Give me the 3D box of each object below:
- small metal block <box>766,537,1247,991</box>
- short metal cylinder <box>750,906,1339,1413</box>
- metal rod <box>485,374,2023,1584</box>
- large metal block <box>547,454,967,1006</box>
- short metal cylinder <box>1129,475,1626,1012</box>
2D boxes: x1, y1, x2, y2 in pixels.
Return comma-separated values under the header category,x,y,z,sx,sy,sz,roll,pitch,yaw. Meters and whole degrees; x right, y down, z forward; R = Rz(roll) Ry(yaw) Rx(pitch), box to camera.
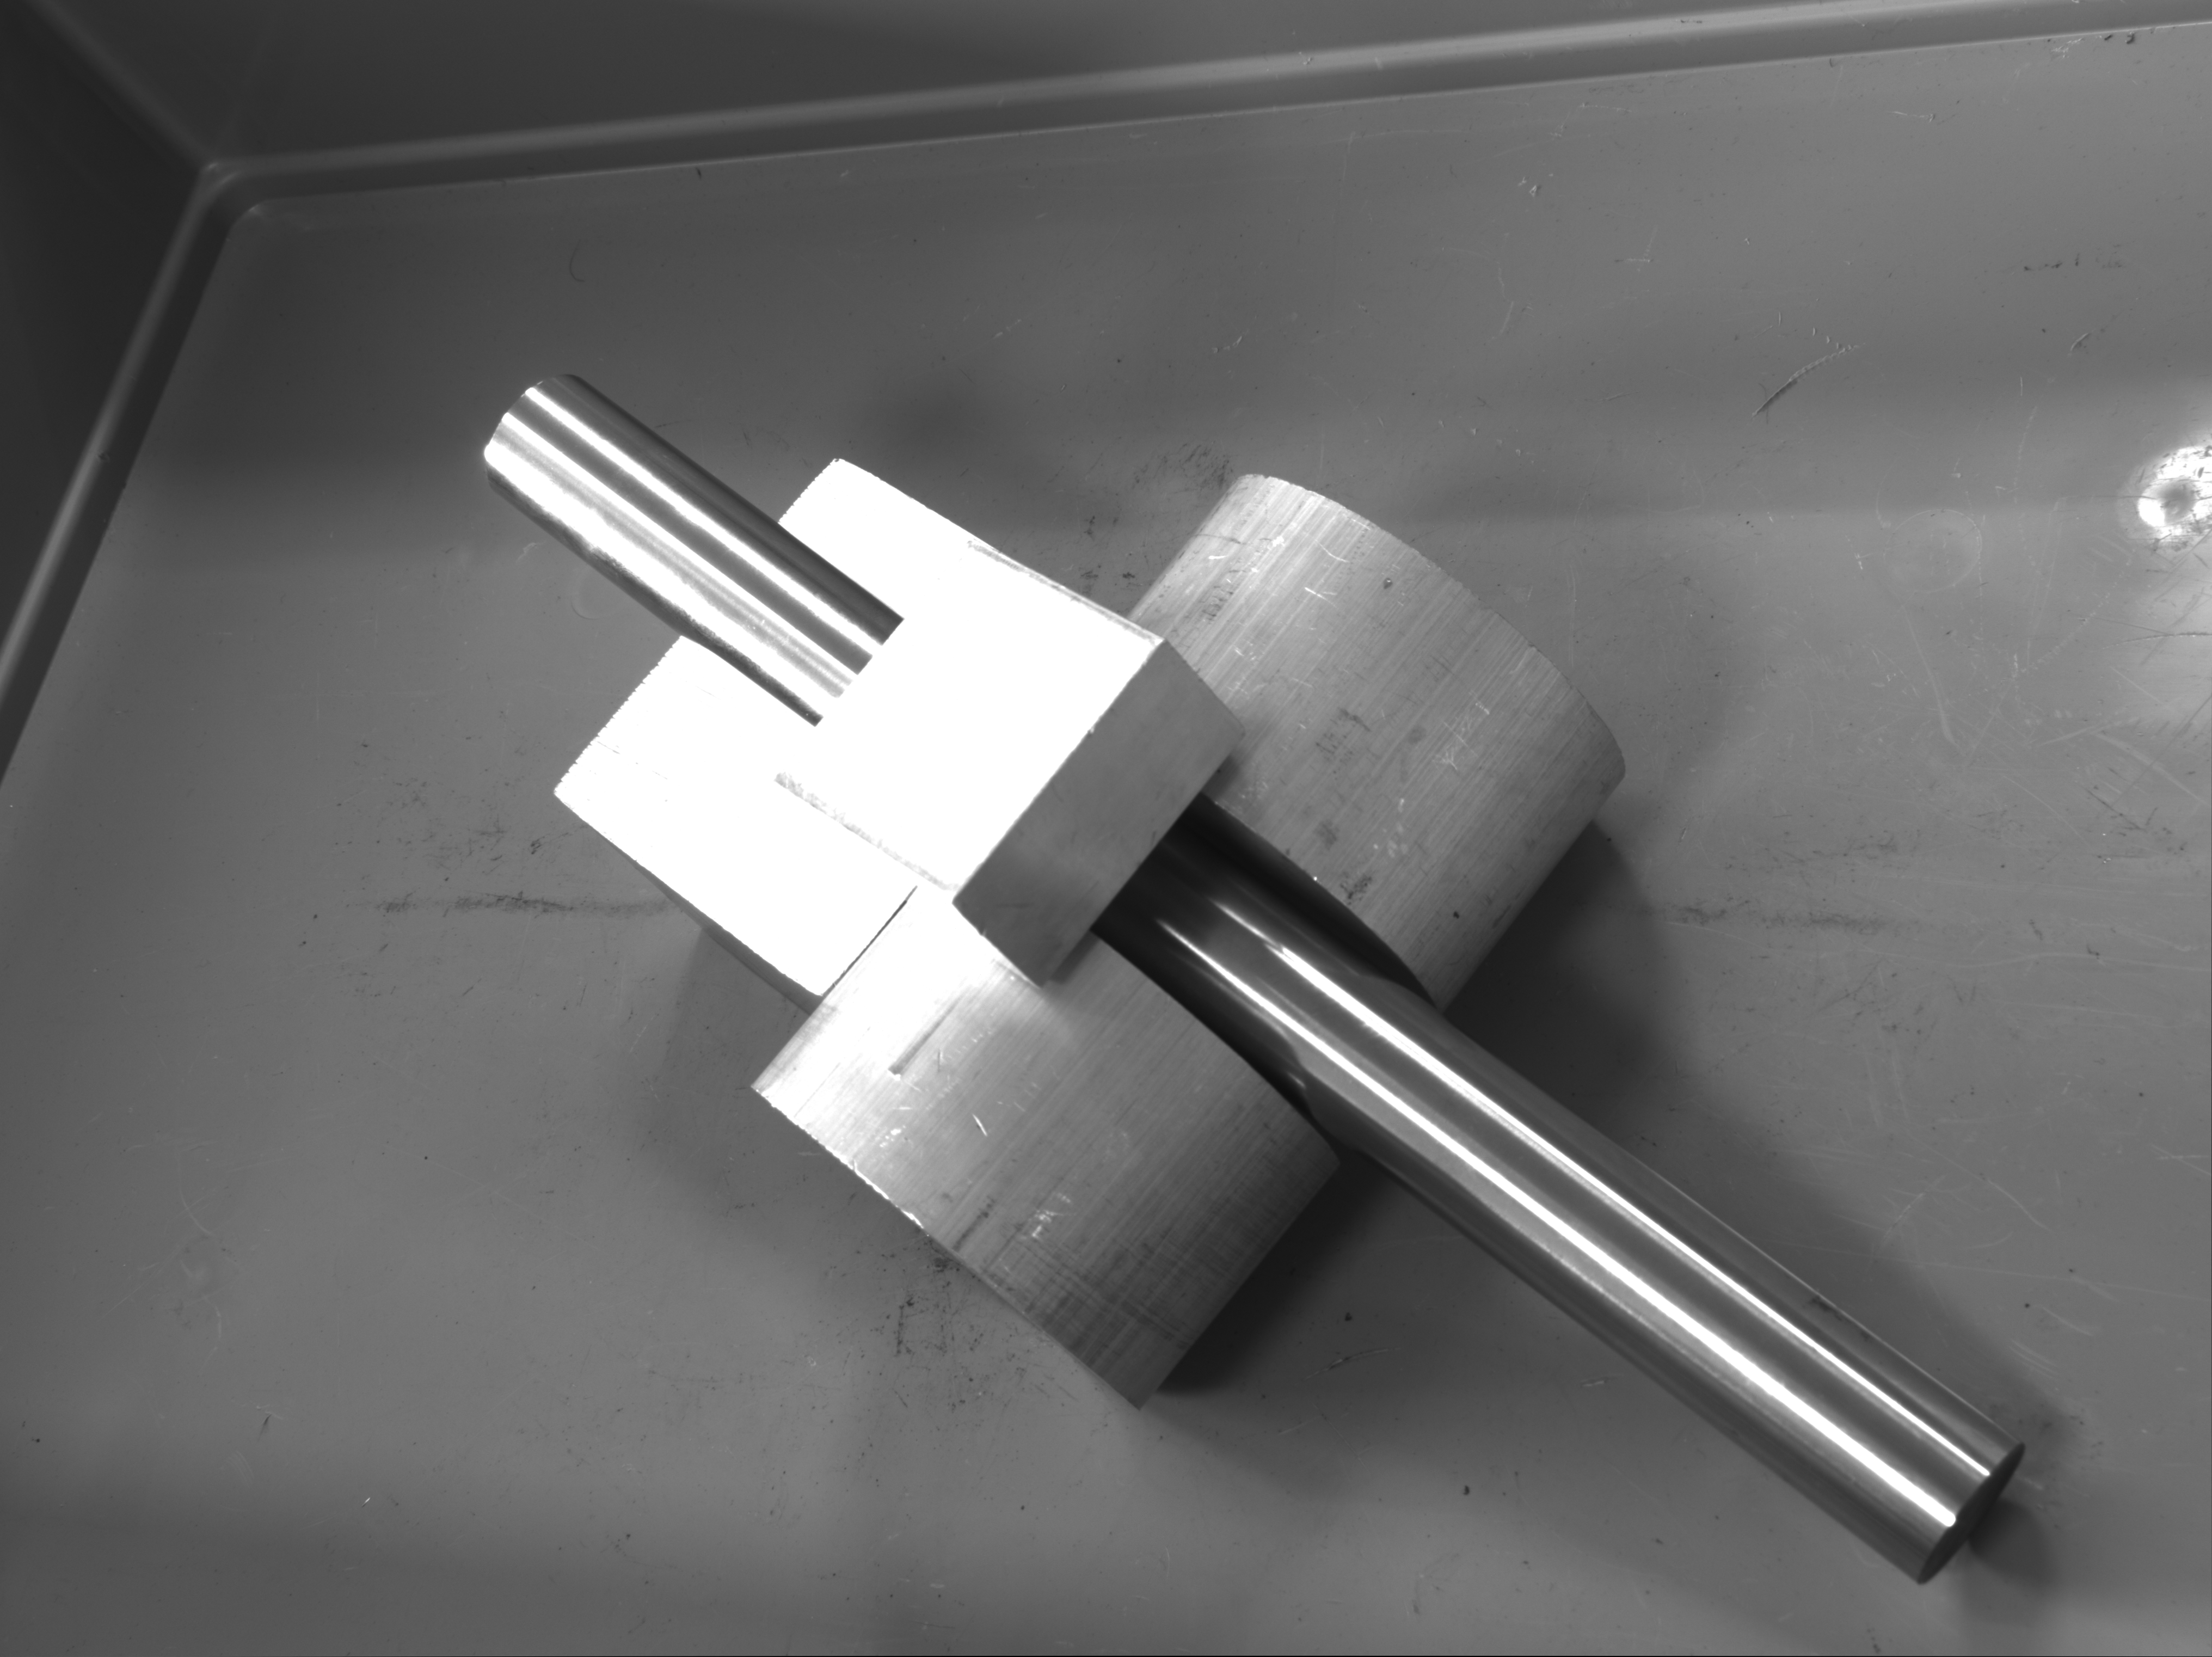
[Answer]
category,x,y,z,sx,sy,sz,roll,pitch,yaw
small metal block,-0.016,-0.011,0.557,0.050,0.025,0.050,-51,43,-8
short metal cylinder,-0.010,0.048,0.584,0.080,0.080,0.050,34,81,39
metal rod,0.012,0.014,0.578,0.299,0.025,0.025,37,82,23
large metal block,-0.037,-0.008,0.650,0.080,0.050,0.080,33,80,38
short metal cylinder,0.037,-0.012,0.597,0.080,0.080,0.050,31,79,38
